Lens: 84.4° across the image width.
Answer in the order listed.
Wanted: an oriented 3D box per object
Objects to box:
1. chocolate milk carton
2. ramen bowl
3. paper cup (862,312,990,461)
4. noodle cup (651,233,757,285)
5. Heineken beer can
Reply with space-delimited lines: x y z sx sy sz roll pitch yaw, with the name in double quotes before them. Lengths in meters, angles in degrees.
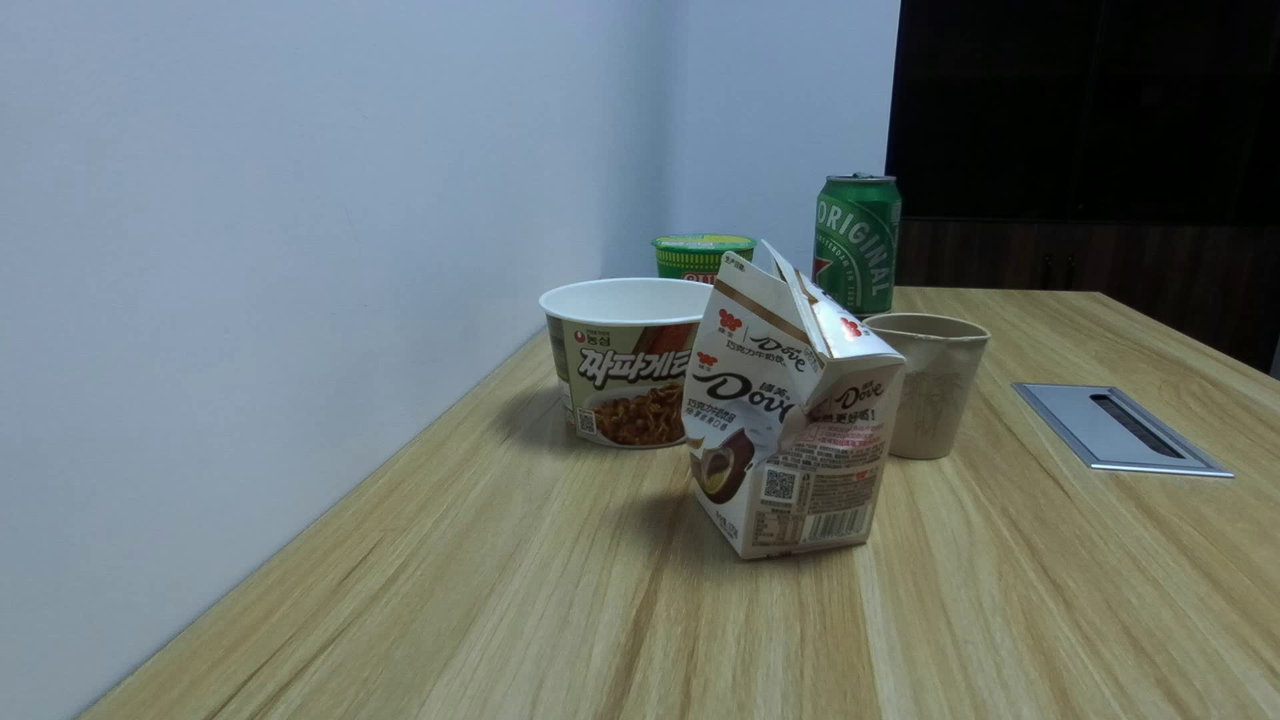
"chocolate milk carton" 0.073 0.023 0.357 0.077 0.155 0.089 -10 34 -16
"ramen bowl" 0.002 -0.001 0.511 0.140 0.095 0.140 -1 19 1
"paper cup" 0.184 0.016 0.473 0.074 0.081 0.068 -7 20 -24
"noodle cup" 0.061 -0.059 0.668 0.097 0.110 0.097 0 18 0
"Heineken beer can" 0.177 -0.064 0.586 0.067 0.169 0.067 1 15 0
